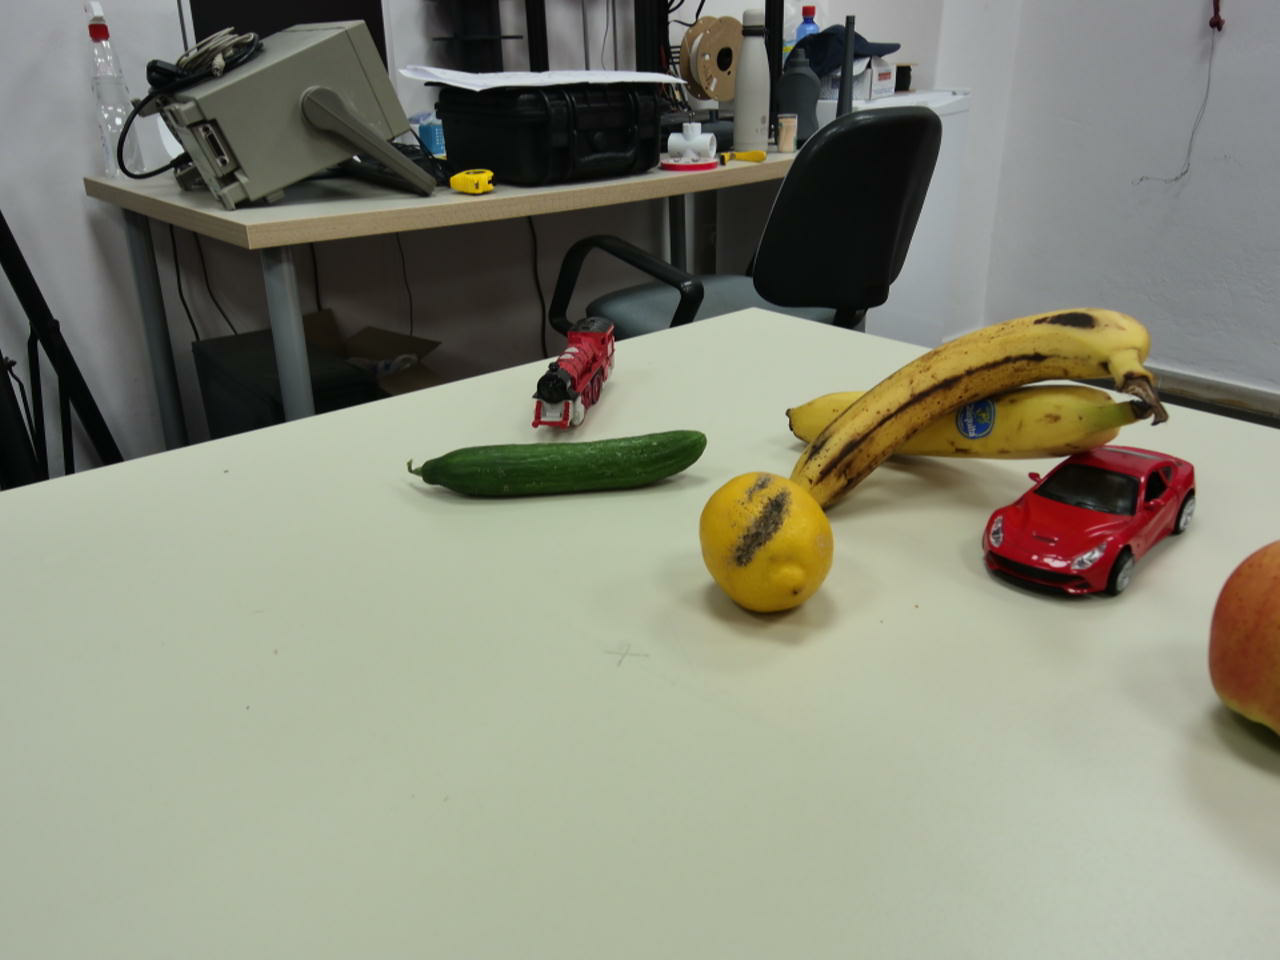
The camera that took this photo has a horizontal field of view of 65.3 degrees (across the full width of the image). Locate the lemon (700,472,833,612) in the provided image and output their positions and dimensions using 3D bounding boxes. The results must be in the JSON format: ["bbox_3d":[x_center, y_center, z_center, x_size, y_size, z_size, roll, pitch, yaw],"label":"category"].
[{"bbox_3d":[0.055,0.027,0.432,0.061,0.056,0.058,19,29,39],"label":"lemon"}]
